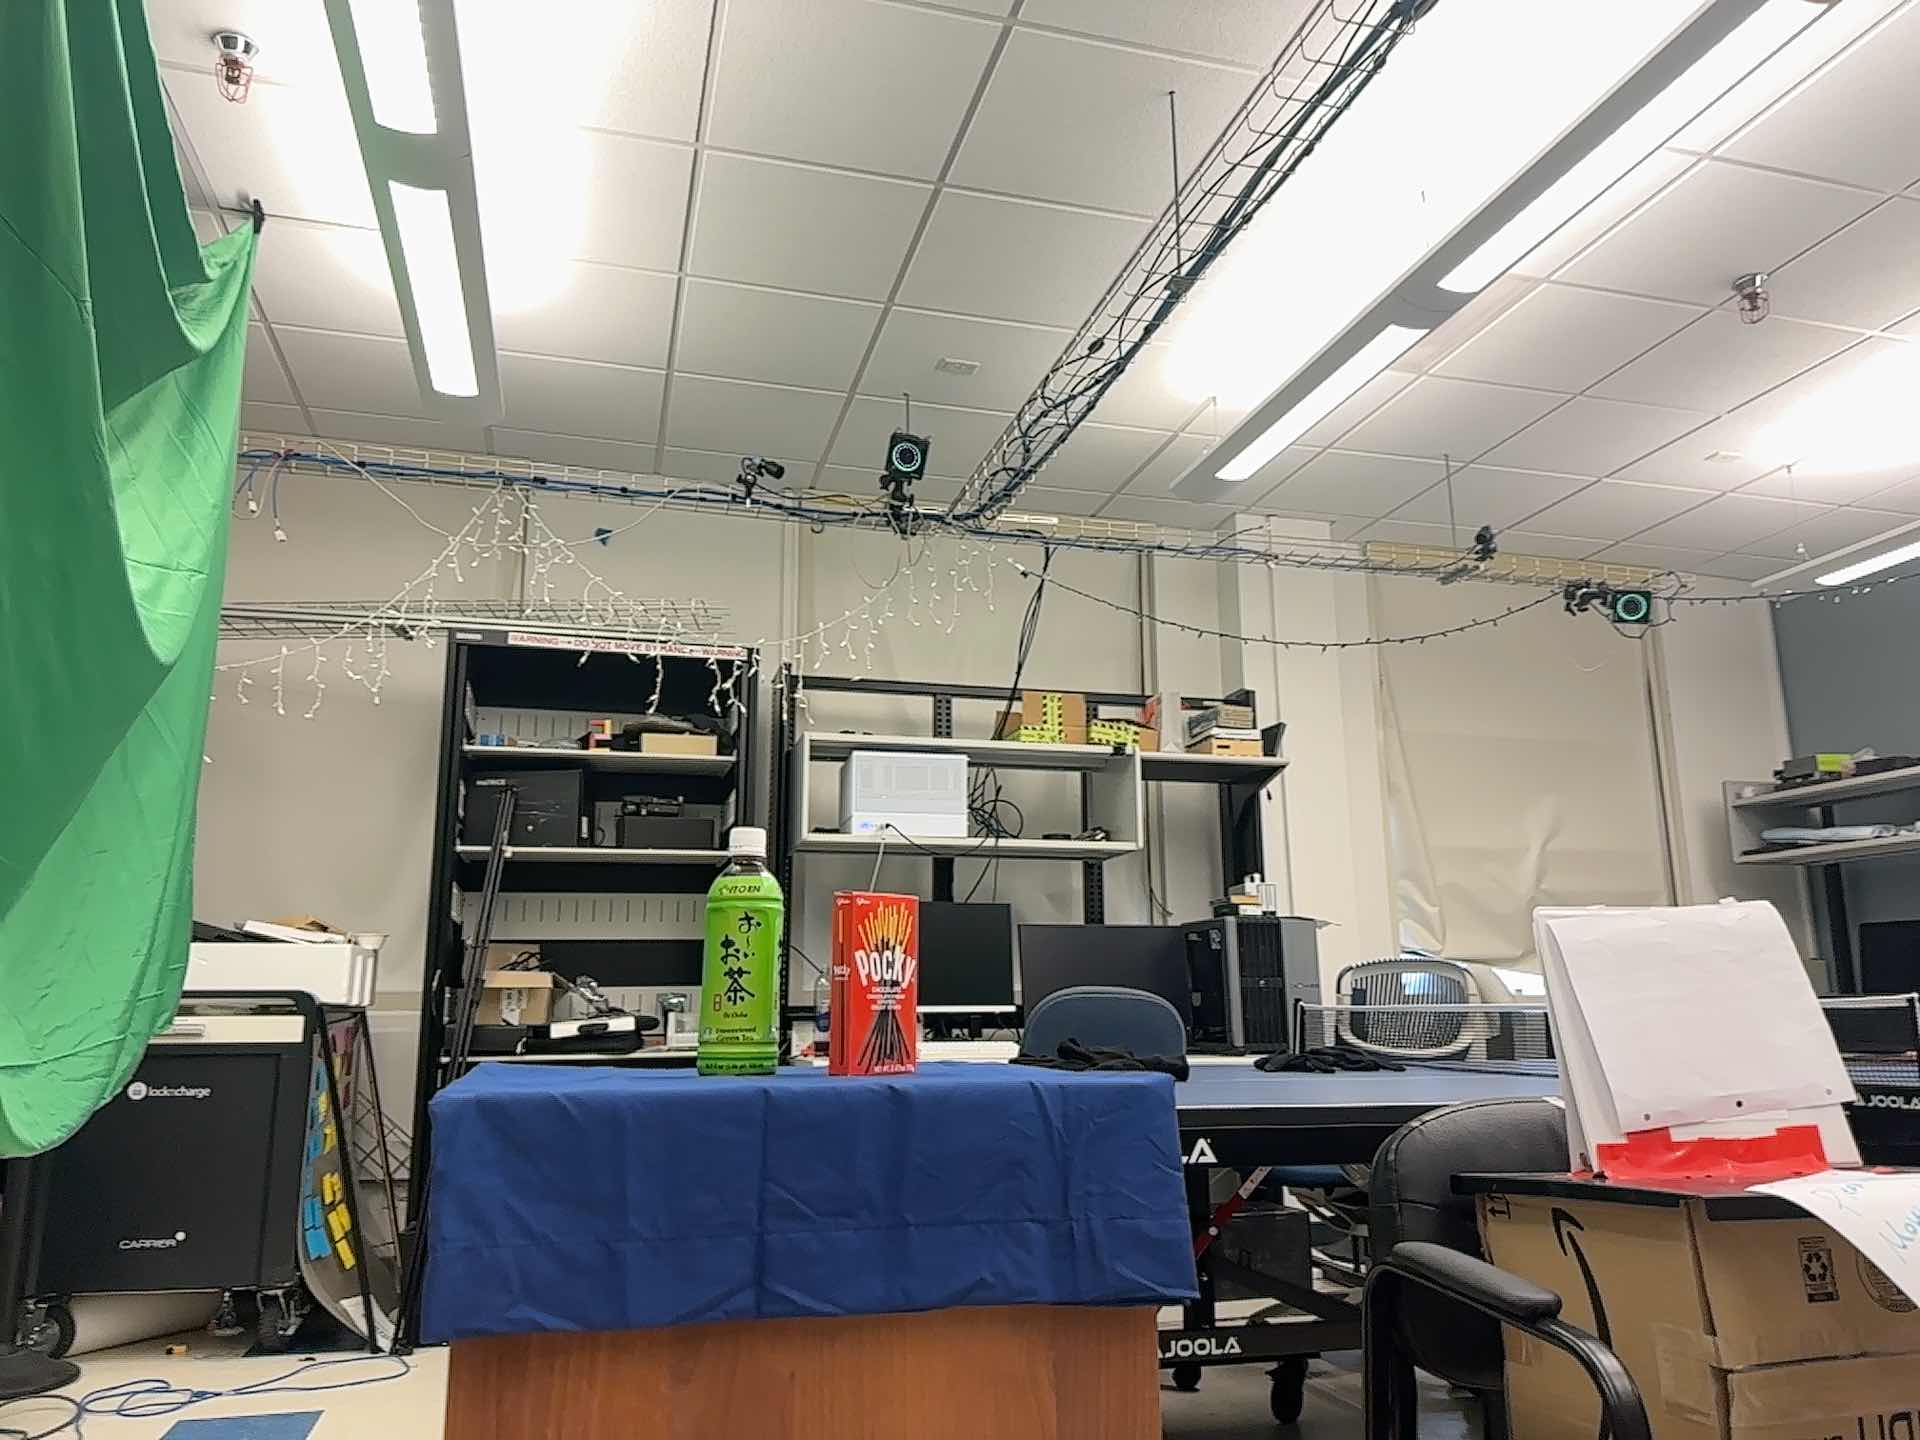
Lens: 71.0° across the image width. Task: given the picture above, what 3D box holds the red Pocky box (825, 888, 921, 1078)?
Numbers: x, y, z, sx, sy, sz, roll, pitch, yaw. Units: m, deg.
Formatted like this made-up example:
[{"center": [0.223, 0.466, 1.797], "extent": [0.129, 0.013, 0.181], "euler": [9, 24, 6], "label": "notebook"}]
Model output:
[{"center": [-0.072, 0.220, 1.128], "extent": [0.083, 0.155, 0.028], "euler": [11, -14, -44], "label": "red Pocky box"}]

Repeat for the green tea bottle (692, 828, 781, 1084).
[{"center": [-0.190, 0.198, 1.143], "extent": [0.073, 0.212, 0.073], "euler": [-1, -11, 0], "label": "green tea bottle"}]
